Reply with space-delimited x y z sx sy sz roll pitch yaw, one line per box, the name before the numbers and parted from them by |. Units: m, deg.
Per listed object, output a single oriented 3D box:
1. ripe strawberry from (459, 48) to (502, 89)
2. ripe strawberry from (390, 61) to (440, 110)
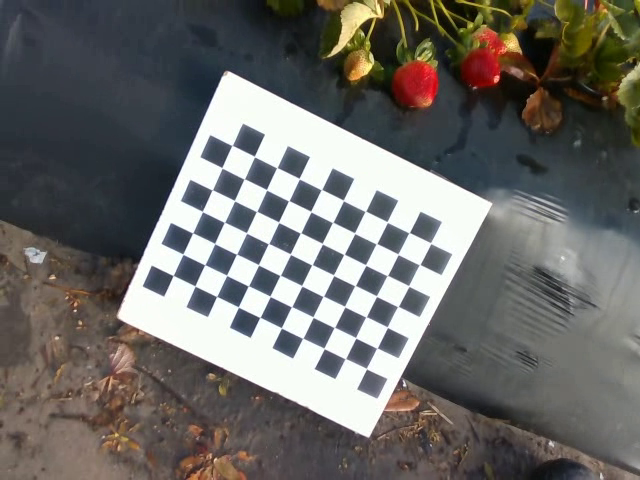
ripe strawberry | 0.173 -0.179 0.668 0.042 0.044 0.055 48 7 -43
ripe strawberry | 0.100 -0.155 0.631 0.050 0.050 0.065 -14 41 4
